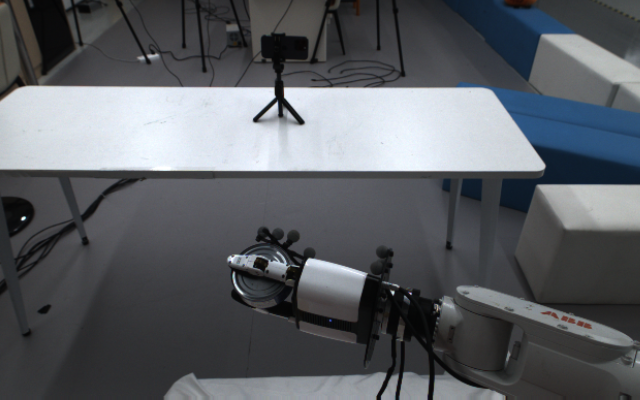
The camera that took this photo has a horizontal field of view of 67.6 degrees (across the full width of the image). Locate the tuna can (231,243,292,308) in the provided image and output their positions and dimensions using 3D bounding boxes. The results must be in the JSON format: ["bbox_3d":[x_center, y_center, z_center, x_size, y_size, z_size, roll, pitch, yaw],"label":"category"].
[{"bbox_3d":[-0.077,0.104,0.671,0.085,0.034,0.085,-4,56,6],"label":"tuna can"}]
